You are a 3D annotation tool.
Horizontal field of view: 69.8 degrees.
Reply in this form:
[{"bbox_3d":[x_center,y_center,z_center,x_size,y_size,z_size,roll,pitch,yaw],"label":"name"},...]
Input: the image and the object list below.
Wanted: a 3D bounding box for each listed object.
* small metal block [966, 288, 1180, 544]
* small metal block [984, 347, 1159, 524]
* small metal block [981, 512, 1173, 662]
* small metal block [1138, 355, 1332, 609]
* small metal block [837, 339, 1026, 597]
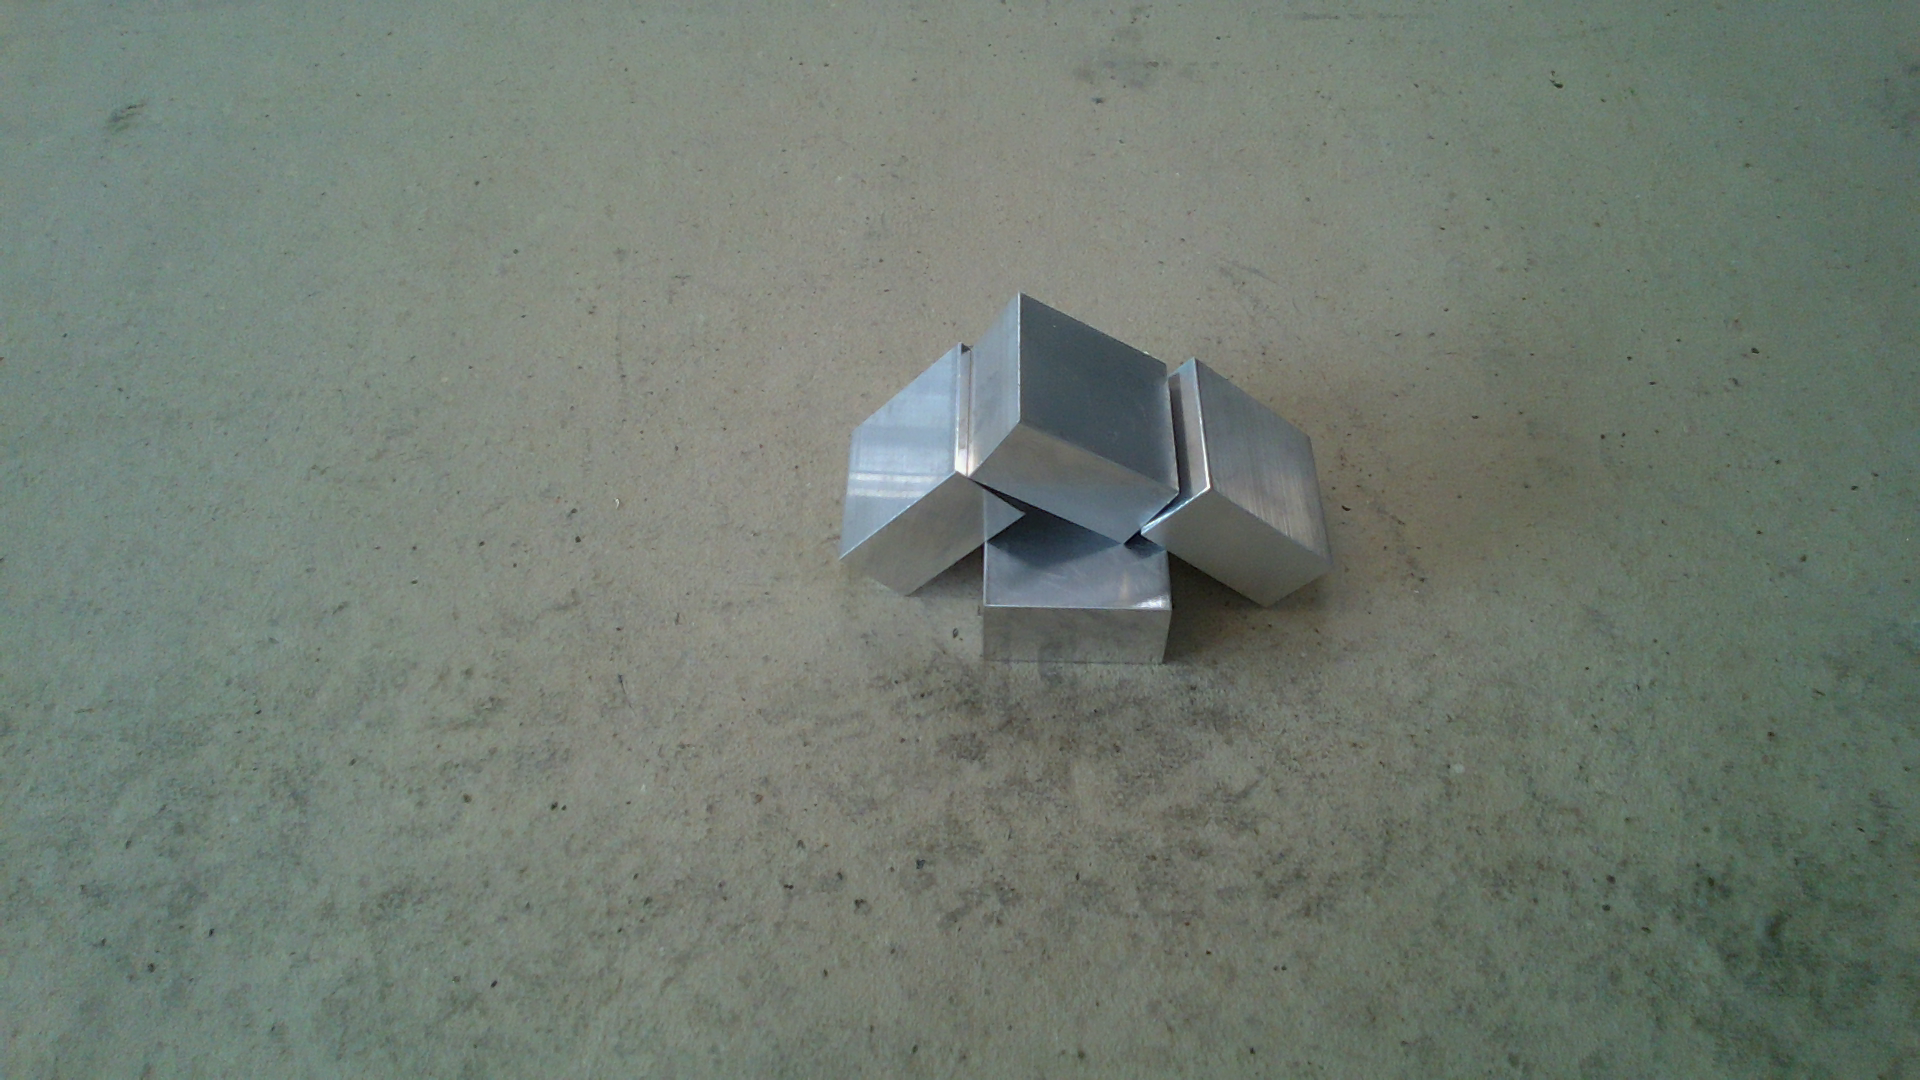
[{"bbox_3d":[0.030,-0.034,0.373,0.050,0.025,0.050,22,46,-22],"label":"small metal block"},{"bbox_3d":[0.032,-0.032,0.419,0.050,0.025,0.050,1,50,1],"label":"small metal block"},{"bbox_3d":[0.031,0.006,0.386,0.050,0.025,0.050,1,50,1],"label":"small metal block"},{"bbox_3d":[0.076,-0.016,0.389,0.050,0.025,0.050,29,43,-28],"label":"small metal block"},{"bbox_3d":[-0.008,-0.020,0.391,0.025,0.050,0.050,30,42,-30],"label":"small metal block"}]
